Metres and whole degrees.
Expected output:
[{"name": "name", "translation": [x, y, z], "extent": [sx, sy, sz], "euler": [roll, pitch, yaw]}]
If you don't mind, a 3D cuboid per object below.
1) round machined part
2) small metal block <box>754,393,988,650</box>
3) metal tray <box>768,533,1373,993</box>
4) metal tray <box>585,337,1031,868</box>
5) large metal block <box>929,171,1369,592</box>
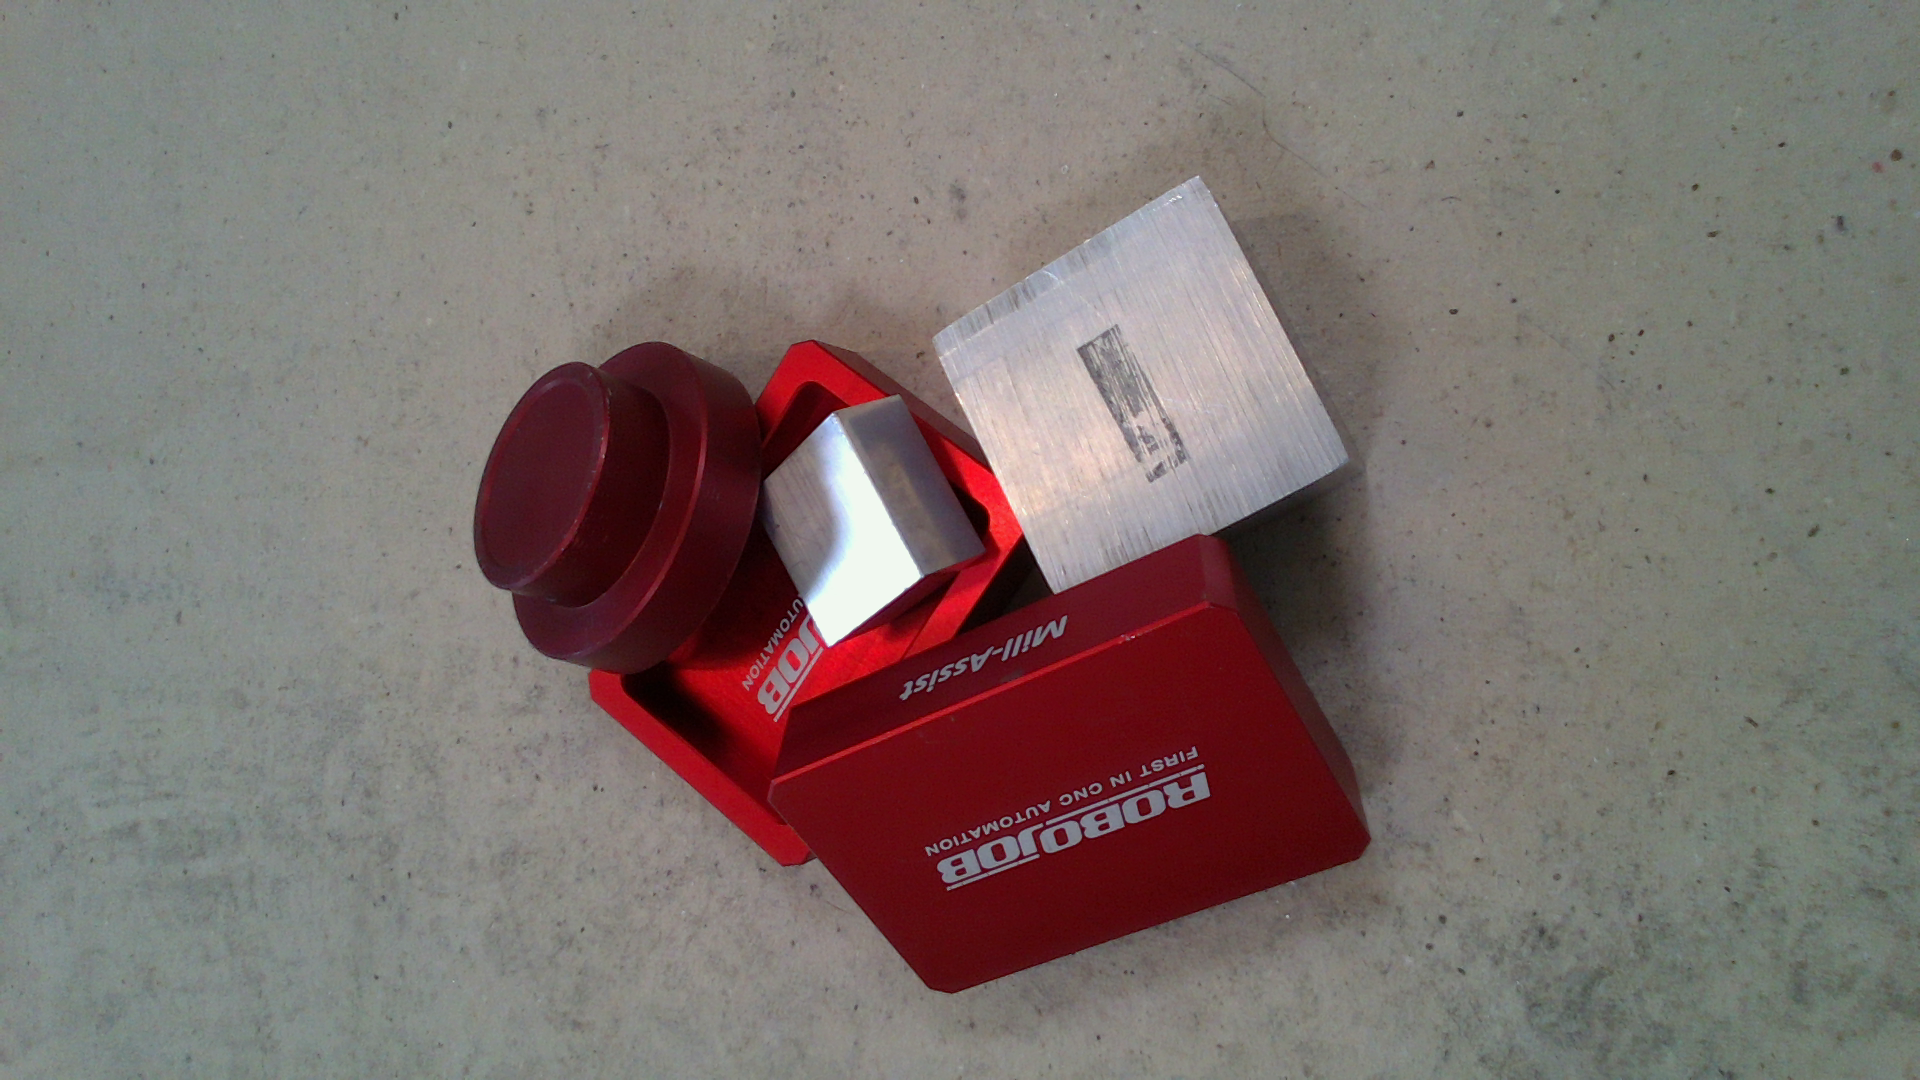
[{"name": "round machined part", "translation": [-0.106, -0.013, 0.403], "extent": [0.098, 0.042, 0.098], "euler": [-20, 59, 39]}, {"name": "small metal block", "translation": [-0.027, -0.005, 0.381], "extent": [0.050, 0.025, 0.050], "euler": [-38, 79, 45]}, {"name": "metal tray", "translation": [0.028, 0.063, 0.359], "extent": [0.130, 0.030, 0.090], "euler": [-24, 118, 19]}, {"name": "metal tray", "translation": [-0.043, 0.018, 0.408], "extent": [0.090, 0.030, 0.130], "euler": [36, 102, 16]}, {"name": "large metal block", "translation": [0.051, -0.036, 0.365], "extent": [0.080, 0.050, 0.080], "euler": [-28, 81, 18]}]
